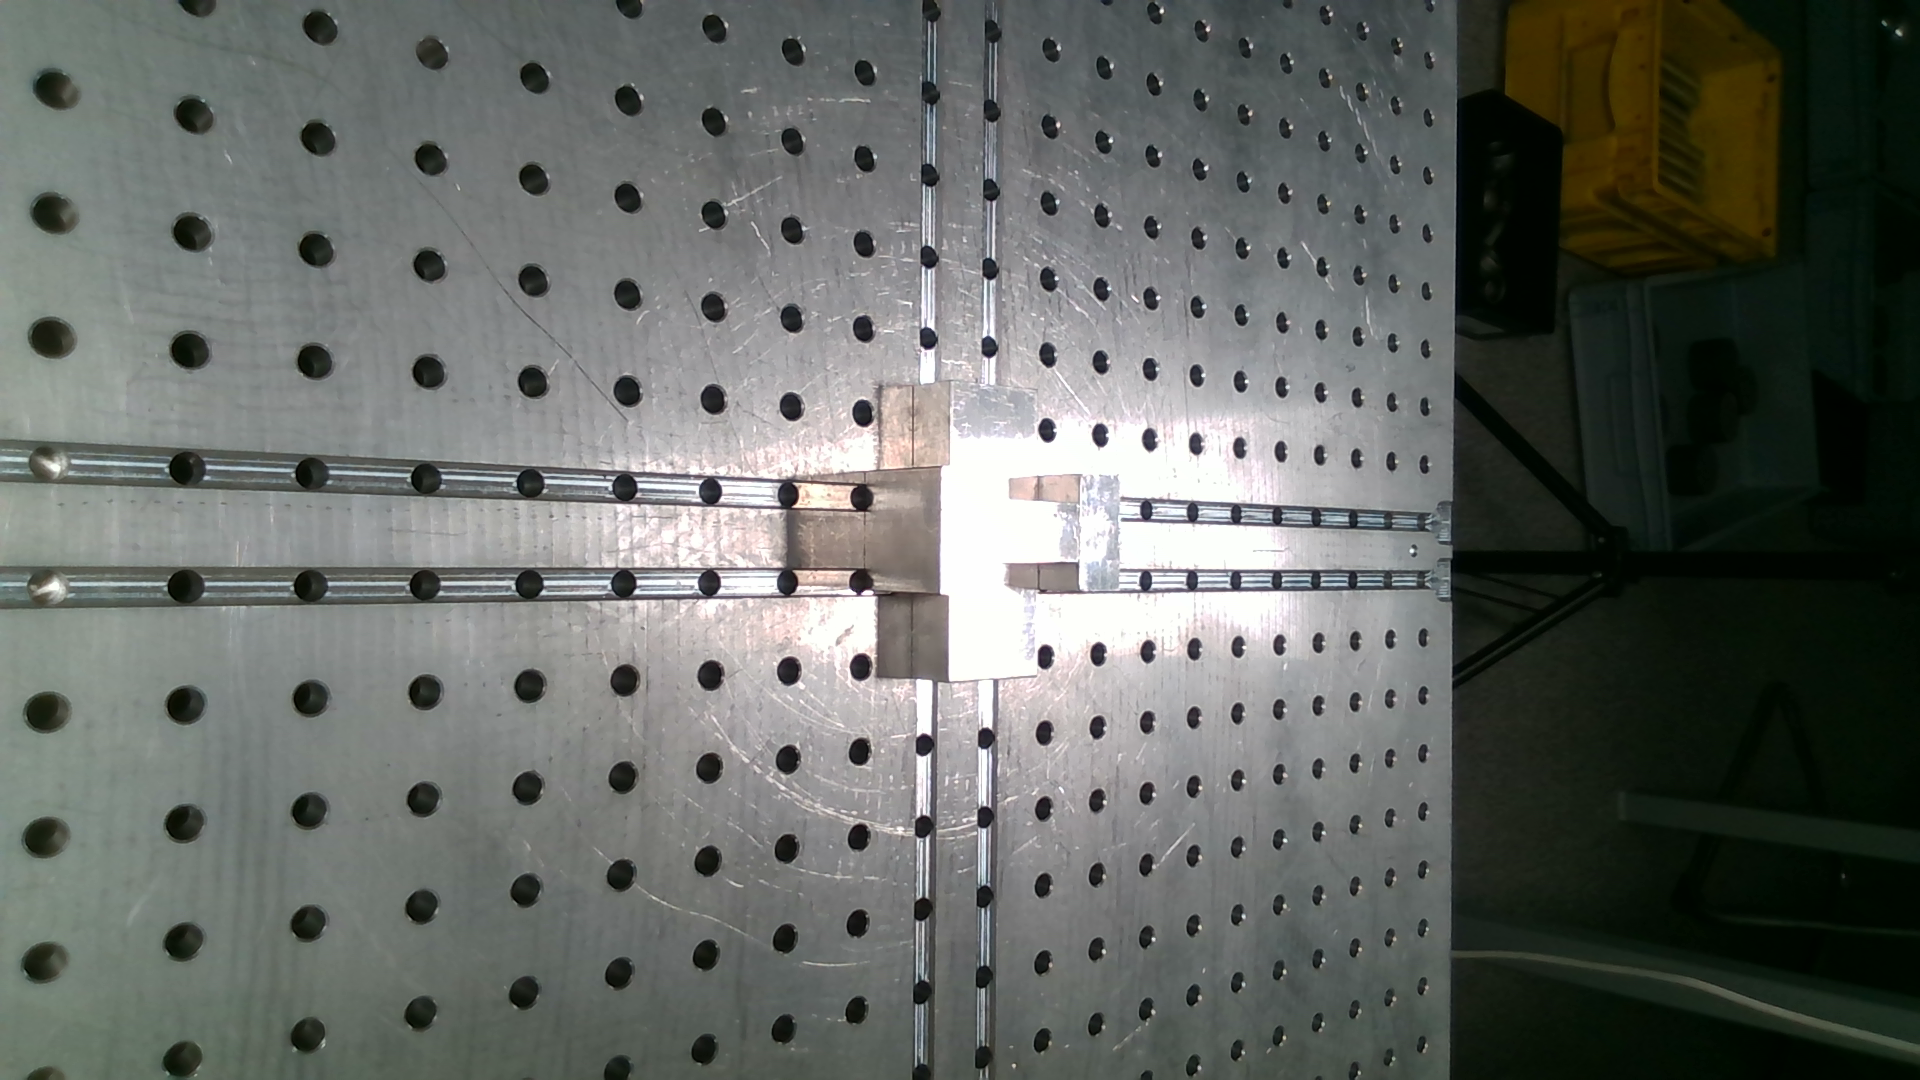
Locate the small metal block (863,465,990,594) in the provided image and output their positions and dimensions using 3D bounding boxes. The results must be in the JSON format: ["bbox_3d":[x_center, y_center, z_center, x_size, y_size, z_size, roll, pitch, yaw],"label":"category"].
[{"bbox_3d":[-0.014,-0.004,0.558,0.025,0.050,0.050,1,89,-40],"label":"small metal block"}]

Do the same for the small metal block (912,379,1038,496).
[{"bbox_3d":[0.007,-0.041,0.591,0.050,0.025,0.050,0,90,-40],"label":"small metal block"}]

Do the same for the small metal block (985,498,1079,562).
[{"bbox_3d":[0.015,-0.004,0.582,0.050,0.050,0.025,1,89,-40],"label":"small metal block"}]

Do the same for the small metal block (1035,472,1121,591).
[{"bbox_3d":[0.044,-0.003,0.606,0.025,0.050,0.050,1,89,-40],"label":"small metal block"}]

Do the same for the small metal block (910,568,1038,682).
[{"bbox_3d":[0.006,0.034,0.591,0.050,0.025,0.050,1,89,-40],"label":"small metal block"}]
